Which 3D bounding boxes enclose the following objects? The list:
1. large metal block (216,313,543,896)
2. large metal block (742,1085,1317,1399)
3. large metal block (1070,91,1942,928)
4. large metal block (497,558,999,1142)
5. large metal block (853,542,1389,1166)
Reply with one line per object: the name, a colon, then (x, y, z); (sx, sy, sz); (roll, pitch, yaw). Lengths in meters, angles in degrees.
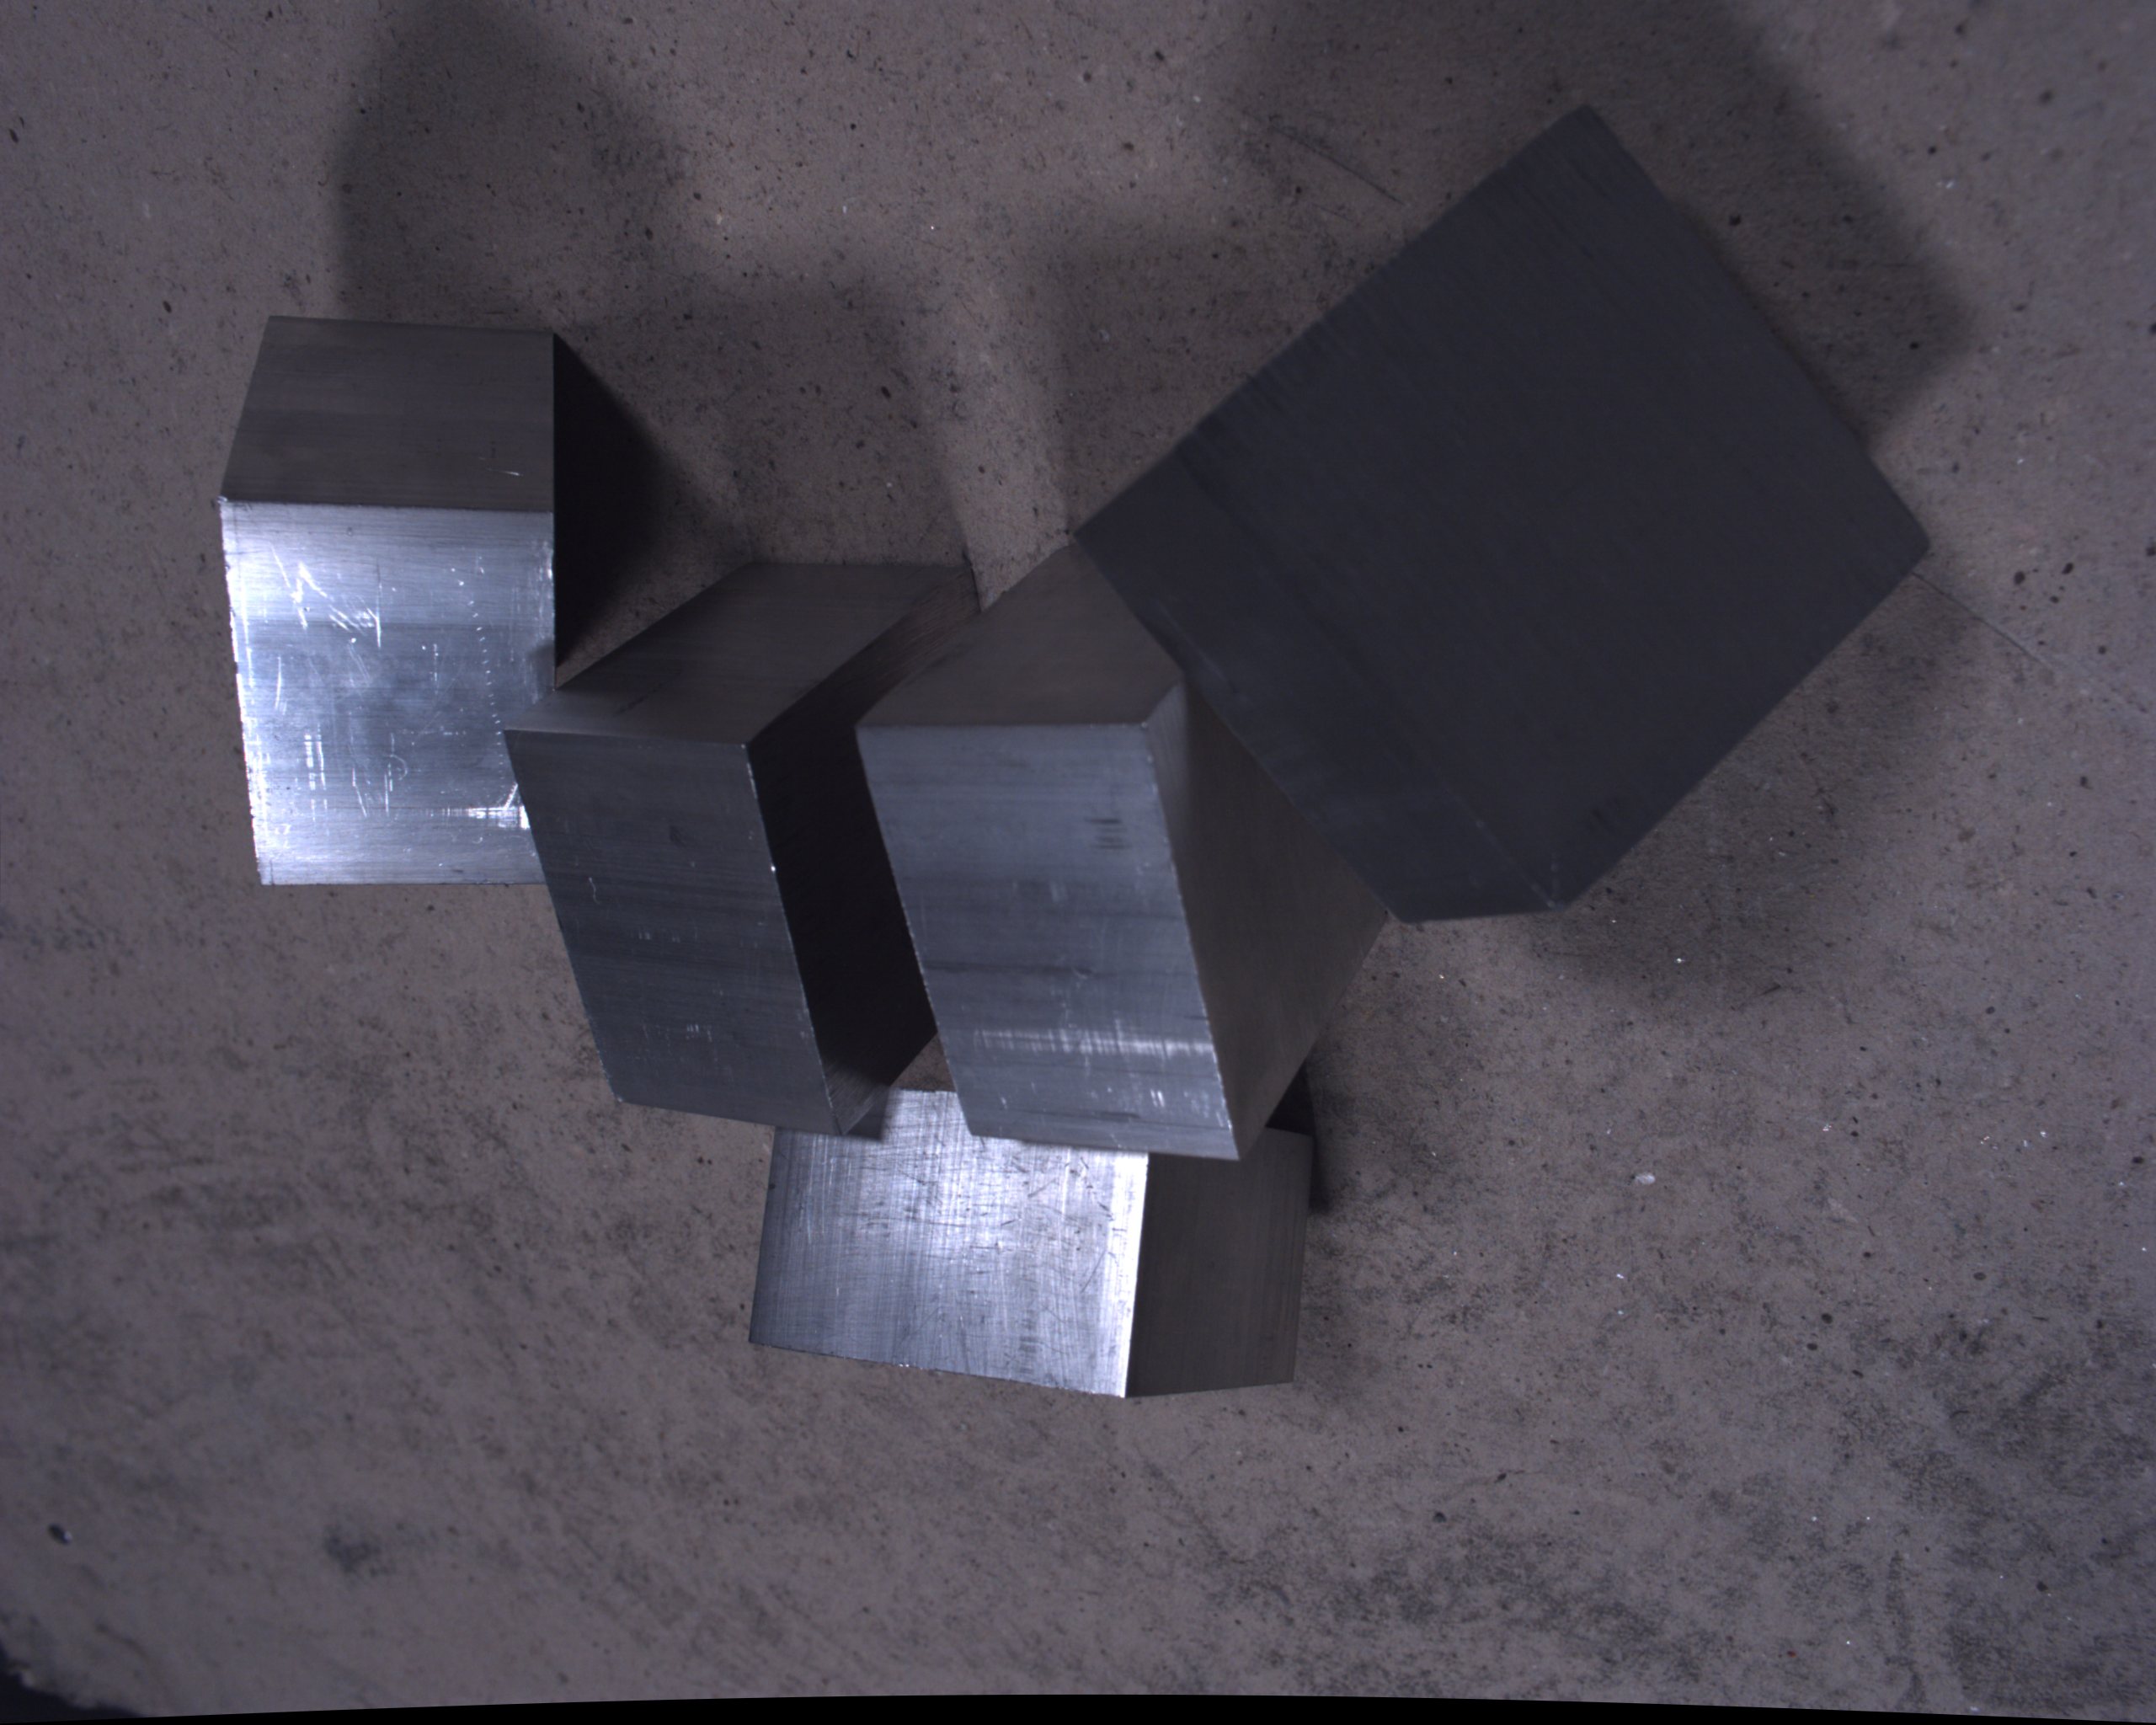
large metal block: (-0.128, -0.050, 0.396); (0.050, 0.080, 0.079); (0, 126, -14)
large metal block: (-0.007, 0.073, 0.412); (0.080, 0.080, 0.050); (1, 80, 27)
large metal block: (0.060, -0.047, 0.303); (0.080, 0.080, 0.050); (50, 166, -7)
large metal block: (-0.054, -0.006, 0.396); (0.050, 0.080, 0.079); (5, 121, 25)
large metal block: (0.012, -0.005, 0.362); (0.050, 0.080, 0.079); (1, 119, 27)
